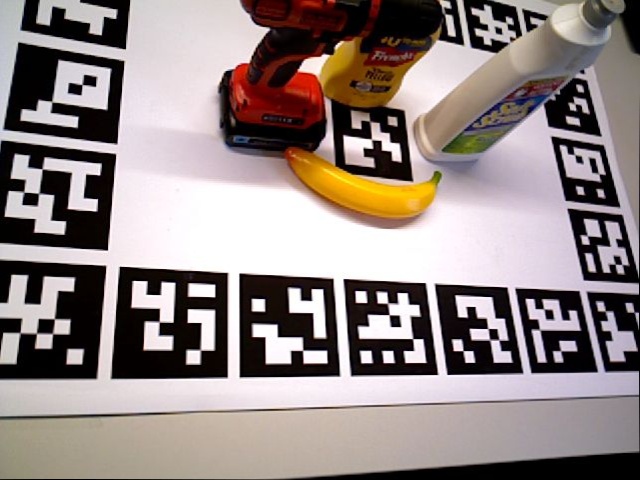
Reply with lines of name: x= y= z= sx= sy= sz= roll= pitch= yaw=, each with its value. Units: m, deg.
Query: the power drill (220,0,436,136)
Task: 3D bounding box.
power drill: x=-0.010 y=-0.177 z=0.510 sx=0.182 sy=0.191 sz=0.057 roll=2 pitch=63 yaw=-24

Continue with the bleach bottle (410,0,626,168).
bleach bottle: x=0.205 y=-0.163 z=0.587 sx=0.101 sy=0.256 sz=0.067 roll=-4 pitch=73 yaw=-24

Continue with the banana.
banana: x=0.059 y=-0.059 z=0.603 sx=0.195 sy=0.039 sz=0.074 roll=7 pitch=73 yaw=-17

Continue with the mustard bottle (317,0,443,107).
mustard bottle: x=0.074 y=-0.220 z=0.580 sx=0.095 sy=0.195 sz=0.058 roll=5 pitch=68 yaw=-22
